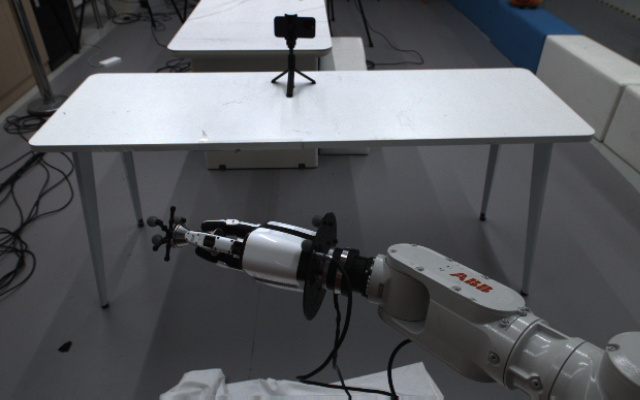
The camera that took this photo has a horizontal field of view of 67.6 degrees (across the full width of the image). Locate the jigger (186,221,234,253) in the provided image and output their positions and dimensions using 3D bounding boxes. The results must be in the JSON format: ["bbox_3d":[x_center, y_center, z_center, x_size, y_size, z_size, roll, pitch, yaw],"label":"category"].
[{"bbox_3d":[-0.184,0.057,0.762,0.071,0.043,0.043,7,35,15],"label":"jigger"}]
